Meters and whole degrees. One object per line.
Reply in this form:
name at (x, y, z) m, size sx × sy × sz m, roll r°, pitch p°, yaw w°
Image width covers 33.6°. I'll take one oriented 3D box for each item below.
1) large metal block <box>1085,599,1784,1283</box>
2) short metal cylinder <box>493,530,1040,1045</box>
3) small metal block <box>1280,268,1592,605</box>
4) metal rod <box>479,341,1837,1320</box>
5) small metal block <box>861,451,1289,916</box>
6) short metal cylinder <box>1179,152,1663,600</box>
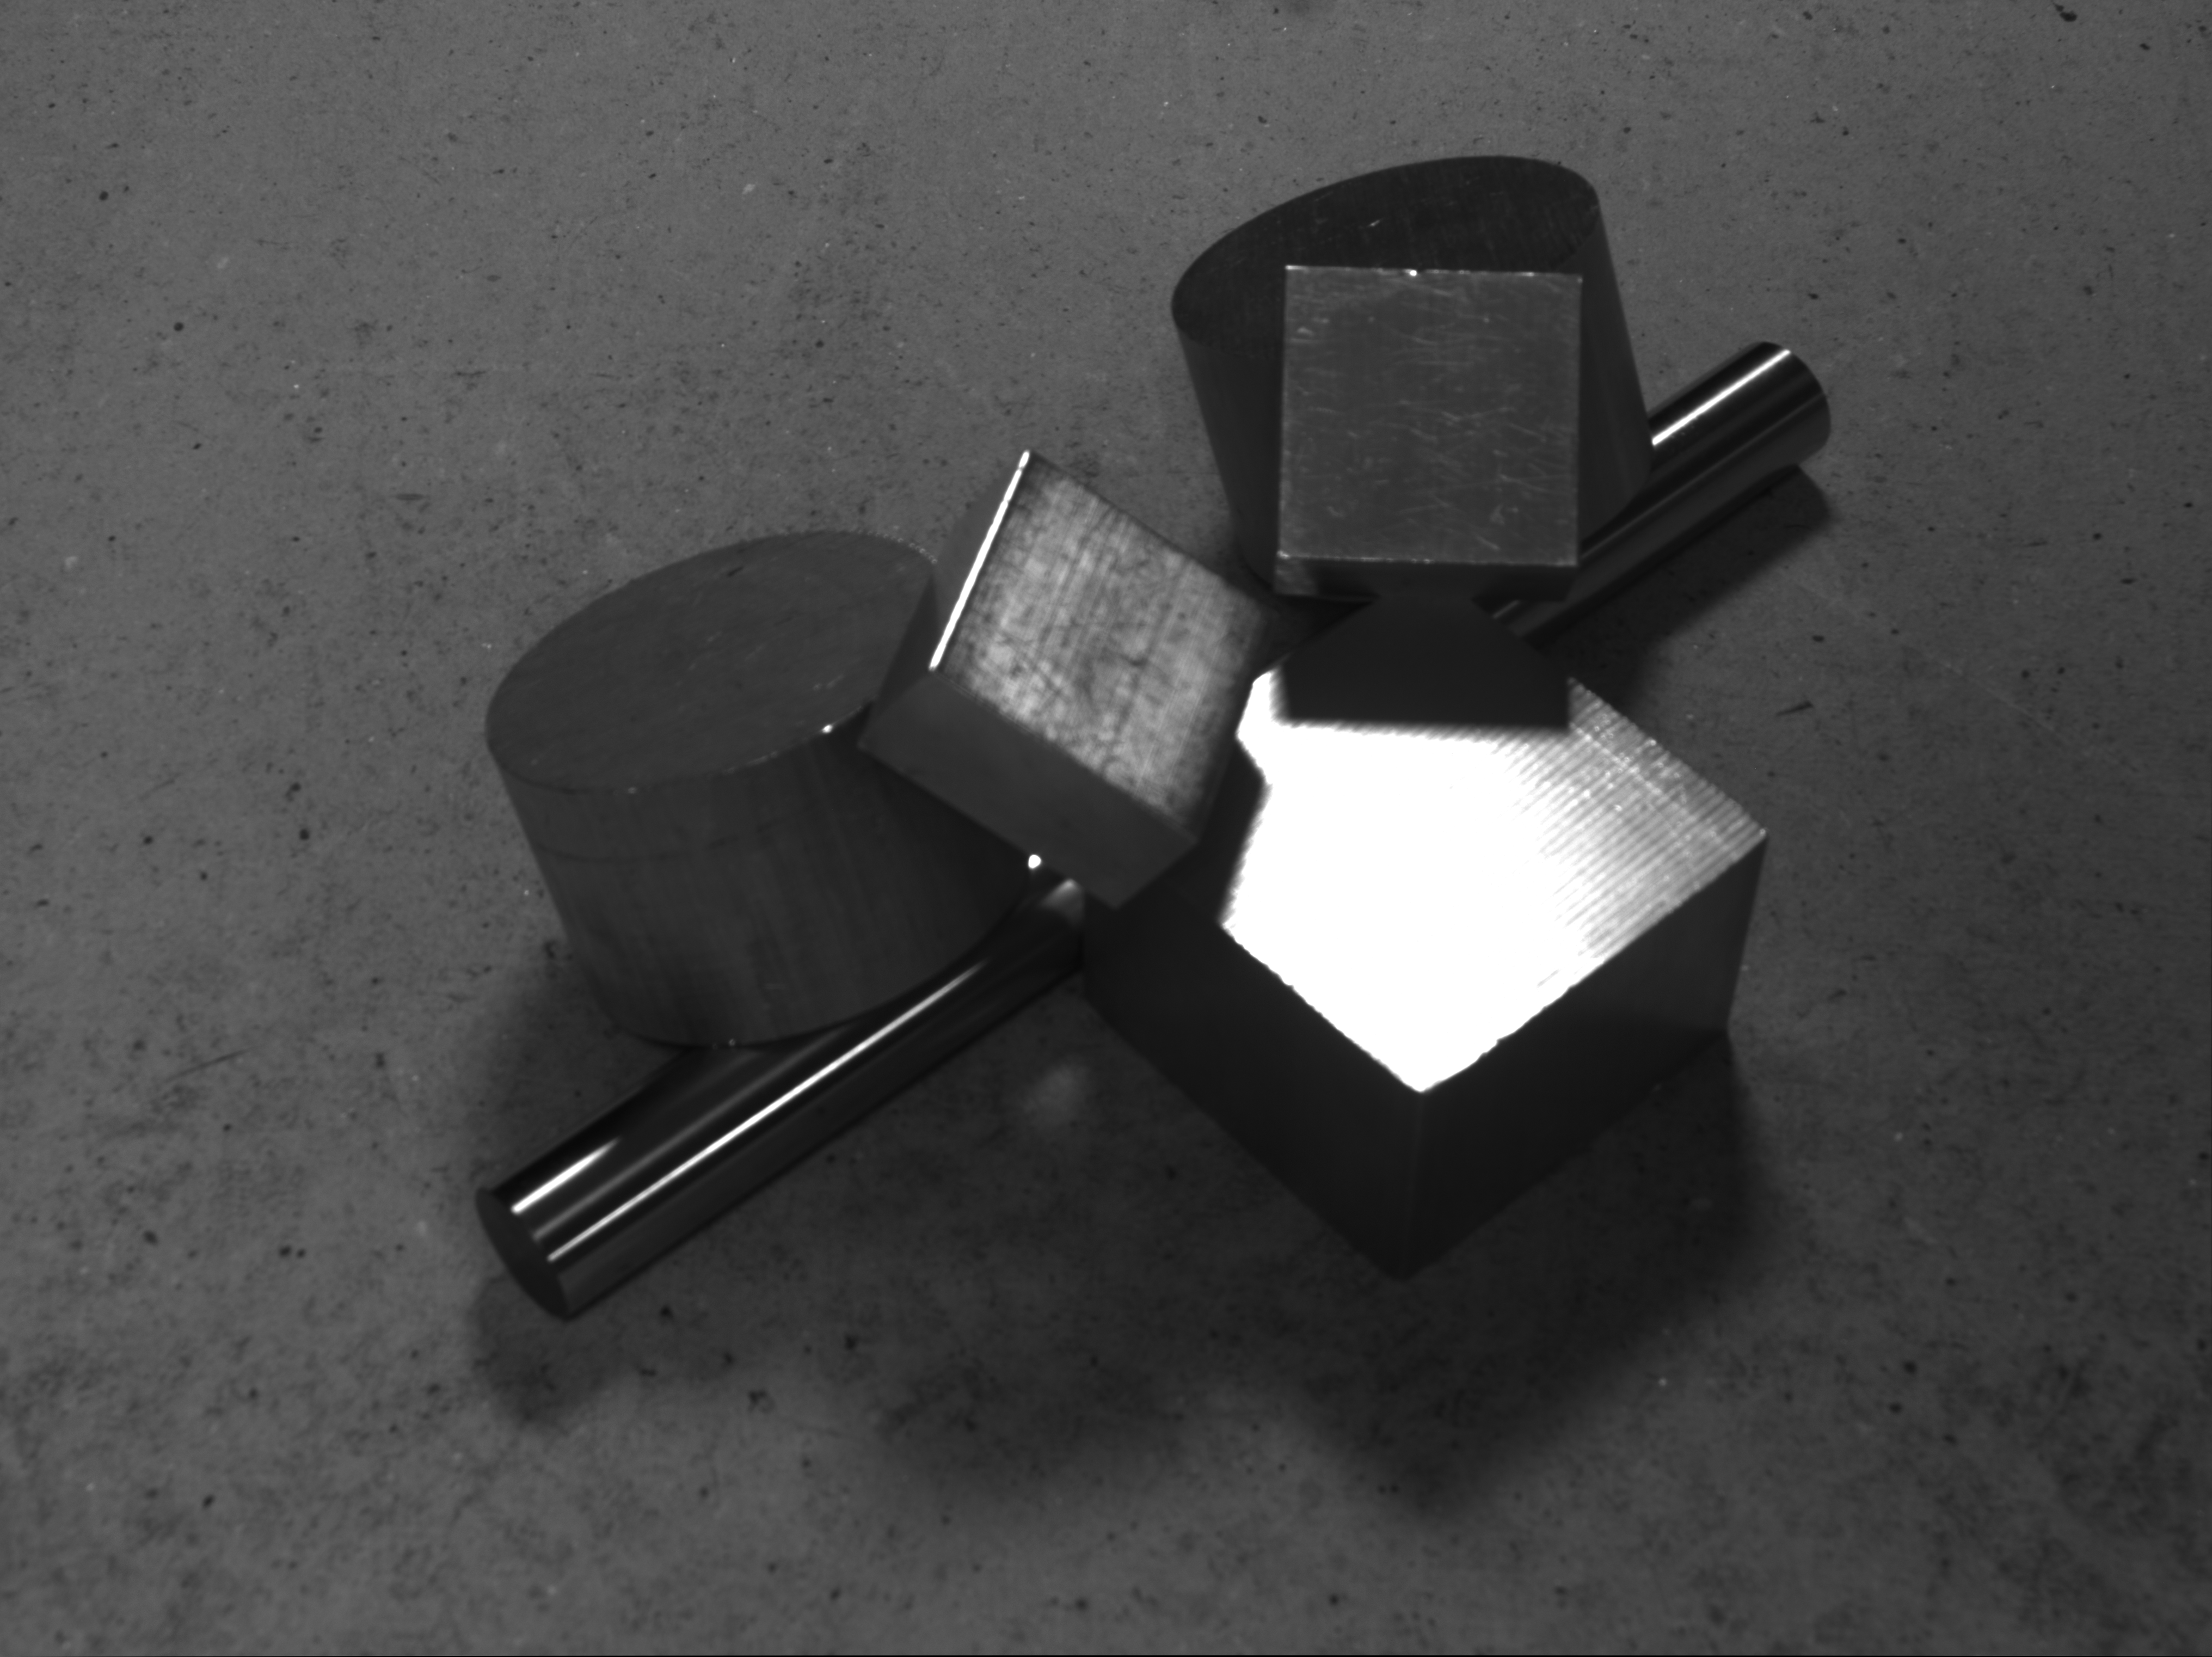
large metal block at (0.053, 0.015, 0.611) m, size 0.080 × 0.050 × 0.080 m, roll -34°, pitch 58°, yaw -25°
short metal cylinder at (-0.056, -0.008, 0.614) m, size 0.080 × 0.050 × 0.080 m, roll -13°, pitch 30°, yaw 8°
small metal block at (0.055, -0.066, 0.616) m, size 0.050 × 0.025 × 0.050 m, roll 2°, pitch 80°, yaw 2°
metal rod at (0.020, -0.008, 0.648) m, size 0.300 × 0.025 × 0.025 m, roll -34°, pitch 58°, yaw -25°
small metal block at (-0.004, -0.023, 0.581) m, size 0.050 × 0.025 × 0.050 m, roll 33°, pitch 51°, yaw -15°
short metal cylinder at (0.059, -0.085, 0.678) m, size 0.080 × 0.050 × 0.080 m, roll -14°, pitch 30°, yaw 8°
